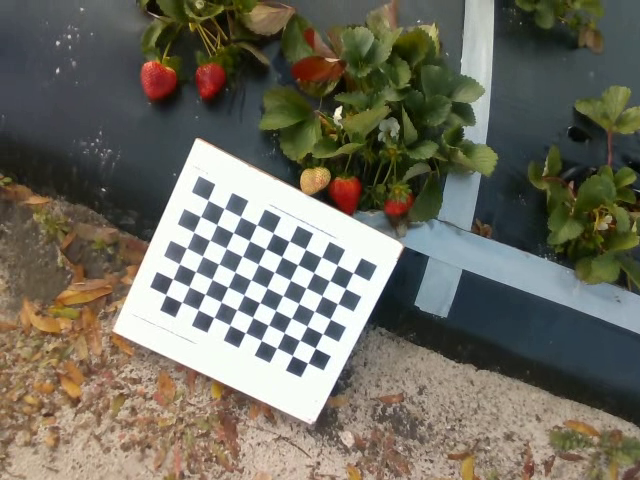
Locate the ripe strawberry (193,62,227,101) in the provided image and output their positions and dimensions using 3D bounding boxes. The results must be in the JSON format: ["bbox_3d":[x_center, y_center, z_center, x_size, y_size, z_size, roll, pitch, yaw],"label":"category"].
[{"bbox_3d":[-0.137,-0.211,1.024,0.042,0.053,0.034,10,-27,0],"label":"ripe strawberry"}]

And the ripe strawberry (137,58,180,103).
[{"bbox_3d":[-0.203,-0.204,1.015,0.050,0.061,0.045,16,-31,-1],"label":"ripe strawberry"}]
